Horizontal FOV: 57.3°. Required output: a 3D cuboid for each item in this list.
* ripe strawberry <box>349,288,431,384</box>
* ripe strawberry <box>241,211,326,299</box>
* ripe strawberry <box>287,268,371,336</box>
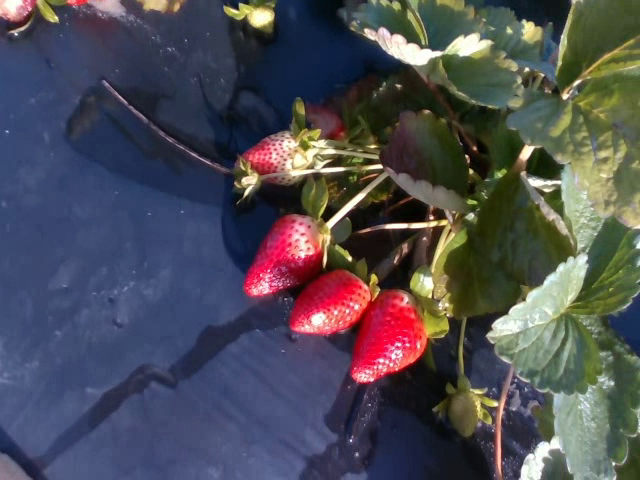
[{"bbox_3d":[0.024,0.046,0.245,0.041,0.035,0.034,-42,-12,-42],"label":"ripe strawberry"},{"bbox_3d":[-0.016,0.007,0.256,0.031,0.045,0.023,44,-6,8],"label":"ripe strawberry"},{"bbox_3d":[0.003,0.027,0.245,0.036,0.031,0.039,-40,-8,35],"label":"ripe strawberry"}]
